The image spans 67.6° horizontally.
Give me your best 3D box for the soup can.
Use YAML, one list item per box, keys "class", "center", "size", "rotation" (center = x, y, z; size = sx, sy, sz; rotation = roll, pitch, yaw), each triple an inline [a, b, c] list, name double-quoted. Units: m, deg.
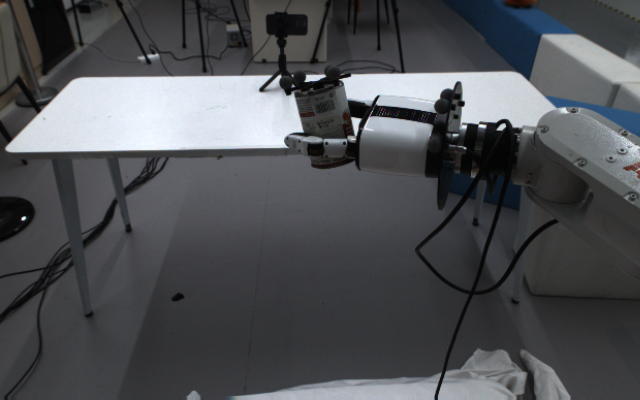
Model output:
- class: "soup can"
  center: [0.011, -0.100, 0.641]
  size: [0.067, 0.101, 0.067]
  rotation: [-13, 20, 5]
